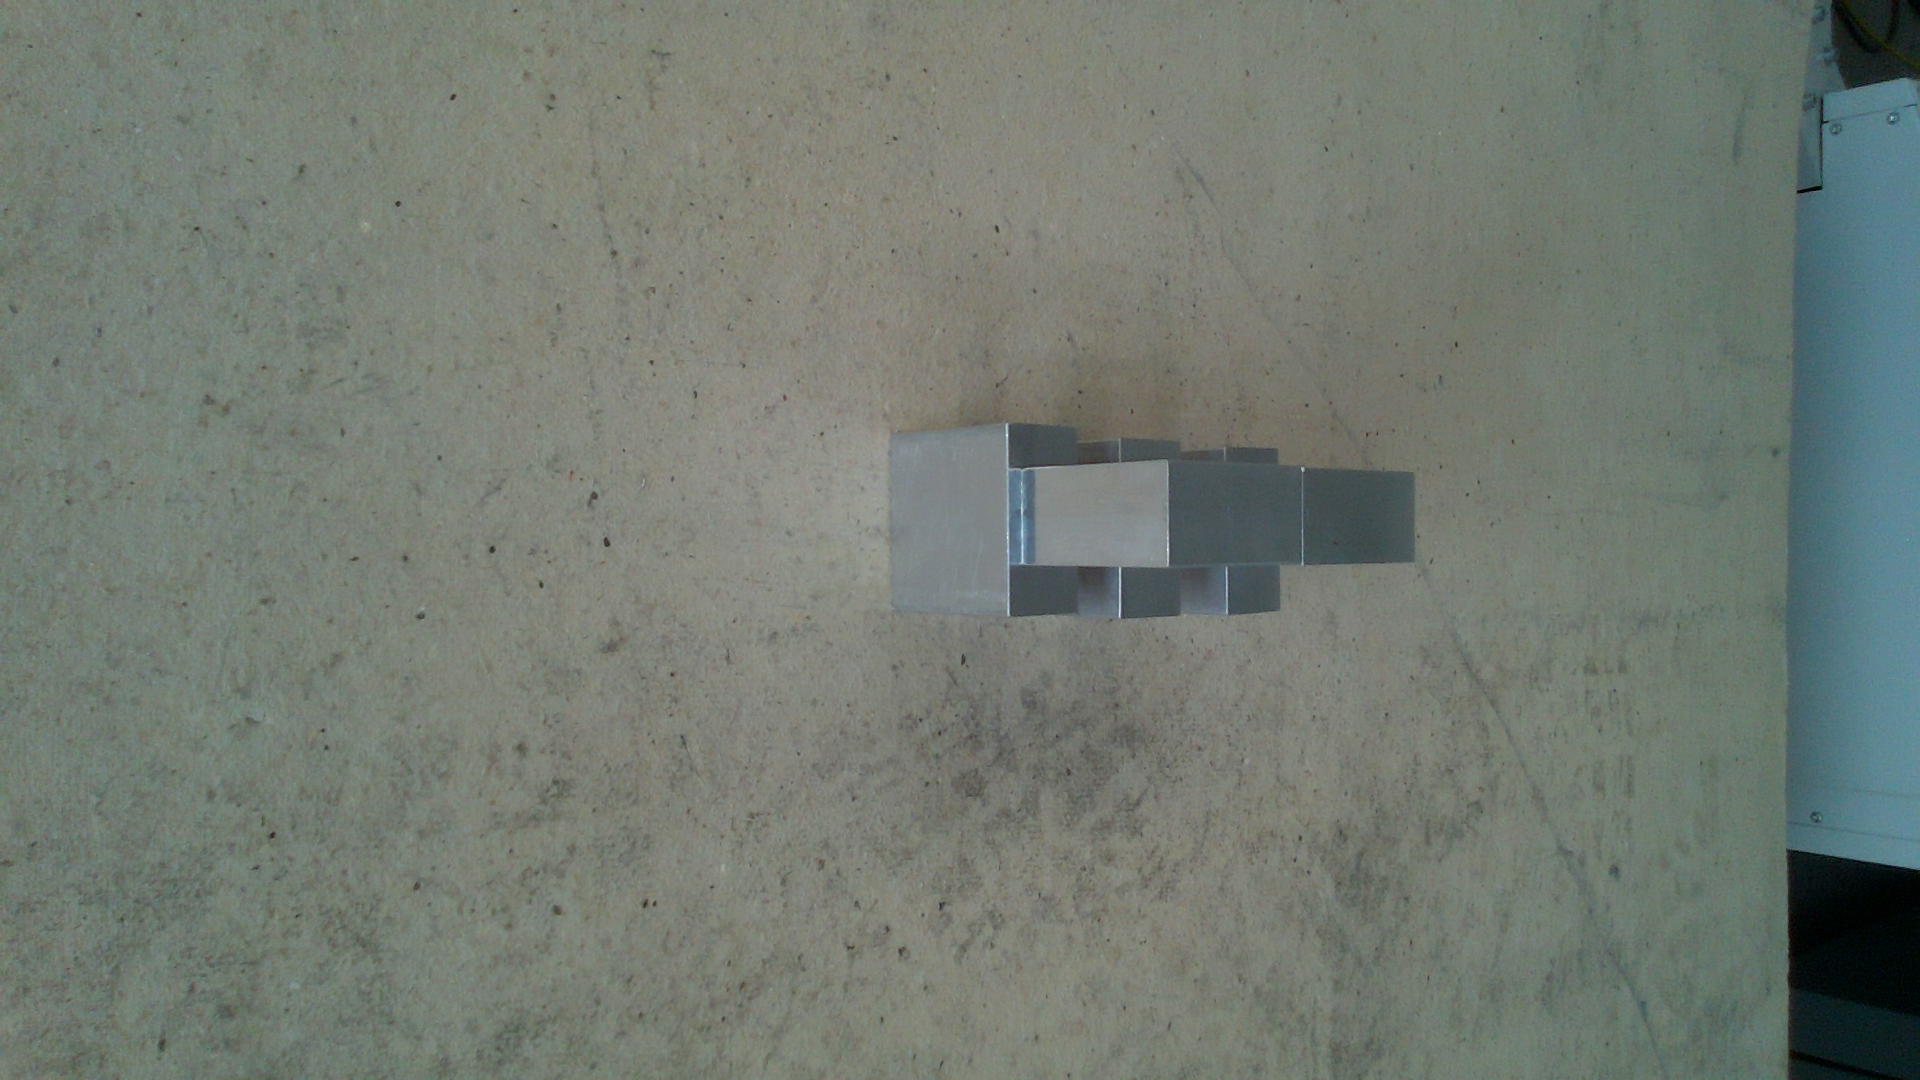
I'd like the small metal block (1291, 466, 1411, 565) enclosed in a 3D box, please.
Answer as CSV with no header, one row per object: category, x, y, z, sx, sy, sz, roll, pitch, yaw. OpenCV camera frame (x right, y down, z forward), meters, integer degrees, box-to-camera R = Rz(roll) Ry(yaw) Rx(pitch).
small metal block,0.089,-0.006,0.383,0.050,0.050,0.025,-1,90,-40

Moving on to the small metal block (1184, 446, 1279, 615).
small metal block,0.072,-0.003,0.434,0.025,0.050,0.050,-2,91,-39

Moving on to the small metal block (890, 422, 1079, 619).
small metal block,0.006,-0.005,0.377,0.025,0.050,0.050,-1,90,-39

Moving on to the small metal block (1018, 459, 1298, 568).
small metal block,0.050,-0.006,0.351,0.050,0.050,0.025,-1,90,-40

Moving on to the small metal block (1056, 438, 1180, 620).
small metal block,0.037,-0.003,0.404,0.025,0.050,0.050,-2,91,-39
